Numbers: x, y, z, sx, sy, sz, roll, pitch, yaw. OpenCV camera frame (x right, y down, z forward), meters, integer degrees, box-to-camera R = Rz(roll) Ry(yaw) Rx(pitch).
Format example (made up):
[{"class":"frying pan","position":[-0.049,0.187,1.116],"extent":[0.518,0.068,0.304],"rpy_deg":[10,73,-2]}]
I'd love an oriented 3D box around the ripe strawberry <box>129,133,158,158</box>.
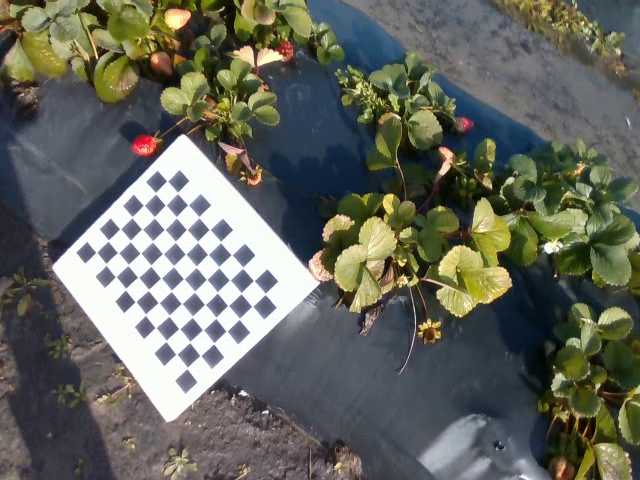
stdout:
[{"class":"ripe strawberry","position":[-0.227,-0.117,0.794],"extent":[0.038,0.034,0.033],"rpy_deg":[-28,-22,-45]}]
